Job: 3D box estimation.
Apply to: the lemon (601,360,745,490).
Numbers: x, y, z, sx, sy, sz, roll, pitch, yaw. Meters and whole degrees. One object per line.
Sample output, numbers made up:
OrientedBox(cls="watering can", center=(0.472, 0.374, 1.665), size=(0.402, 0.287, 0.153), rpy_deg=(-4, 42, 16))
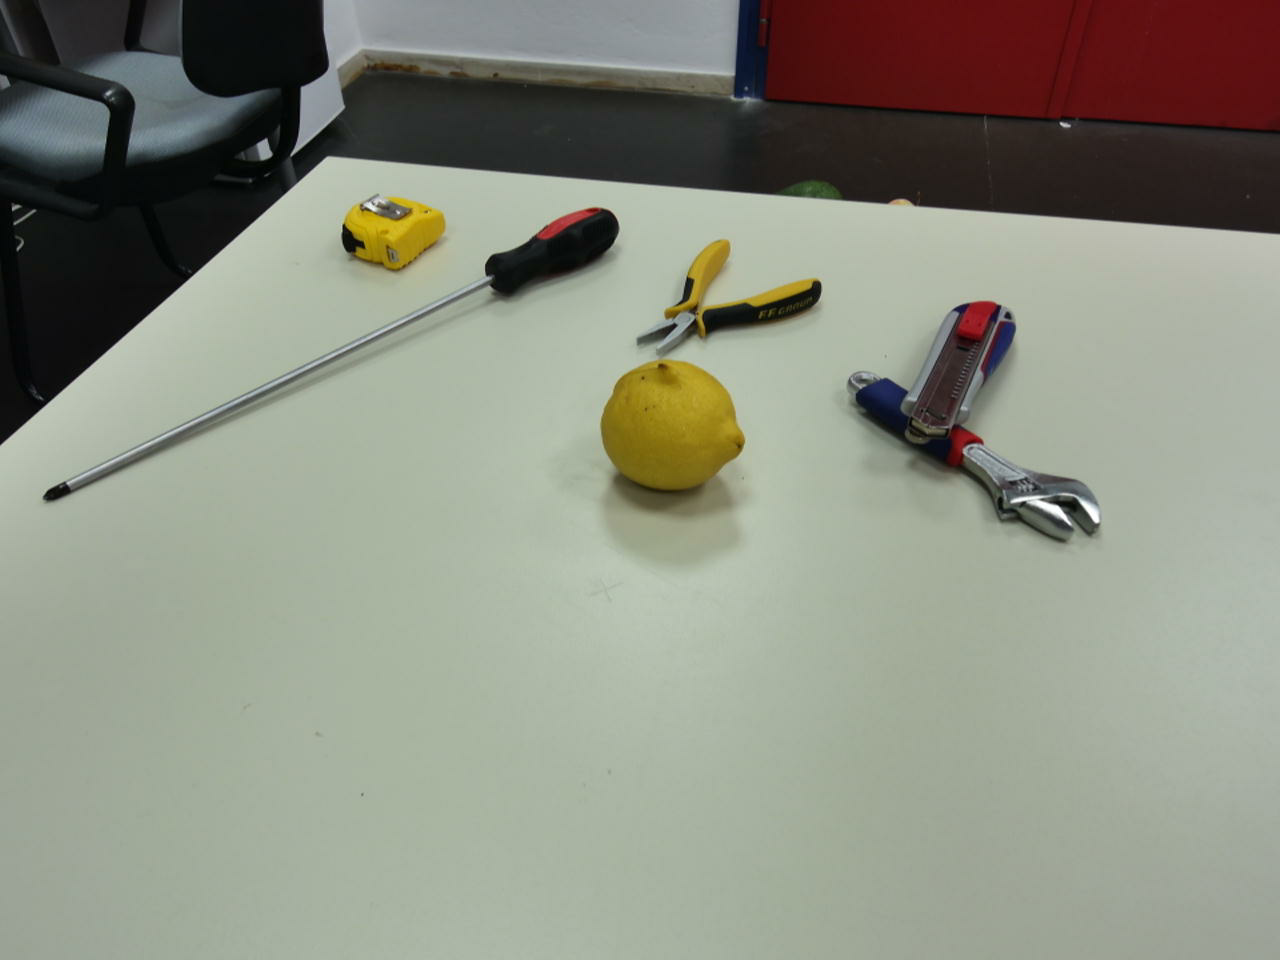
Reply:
OrientedBox(cls="lemon", center=(0.015, -0.031, 0.524), size=(0.070, 0.071, 0.071), rpy_deg=(-13, 41, -16))
